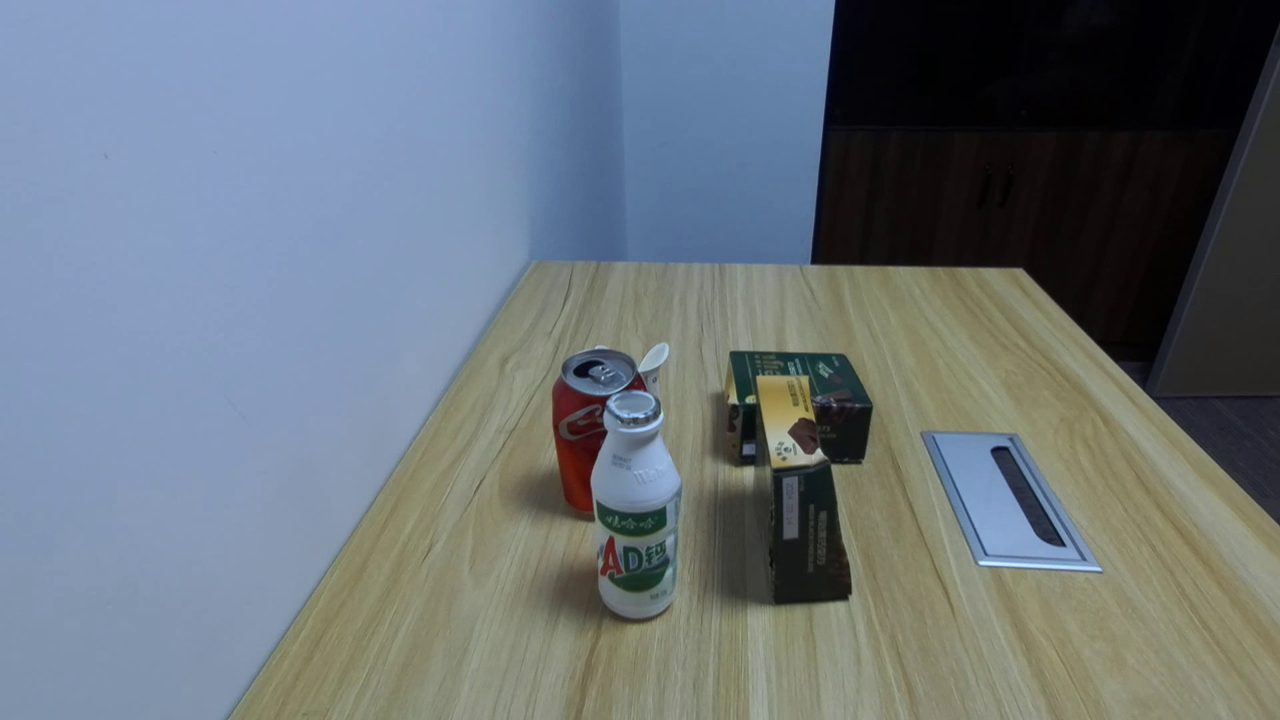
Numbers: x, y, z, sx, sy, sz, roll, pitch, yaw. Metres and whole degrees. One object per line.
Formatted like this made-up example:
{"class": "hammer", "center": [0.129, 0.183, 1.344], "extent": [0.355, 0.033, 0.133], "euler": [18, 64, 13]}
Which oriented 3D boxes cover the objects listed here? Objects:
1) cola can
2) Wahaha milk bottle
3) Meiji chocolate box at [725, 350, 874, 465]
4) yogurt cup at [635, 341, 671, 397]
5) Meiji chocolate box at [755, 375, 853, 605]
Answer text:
{"class": "cola can", "center": [-0.026, 0.053, 0.527], "extent": [0.072, 0.117, 0.065], "euler": [-3, 28, -6]}
{"class": "Wahaha milk bottle", "center": [-0.001, 0.088, 0.428], "extent": [0.056, 0.148, 0.056], "euler": [-2, 28, 1]}
{"class": "Meiji chocolate box", "center": [0.134, 0.037, 0.618], "extent": [0.122, 0.058, 0.115], "euler": [0, 26, 2]}
{"class": "yogurt cup", "center": [-0.007, 0.023, 0.628], "extent": [0.067, 0.070, 0.067], "euler": [1, 29, -1]}
{"class": "Meiji chocolate box", "center": [0.103, 0.081, 0.473], "extent": [0.051, 0.117, 0.117], "euler": [-7, 28, 5]}
